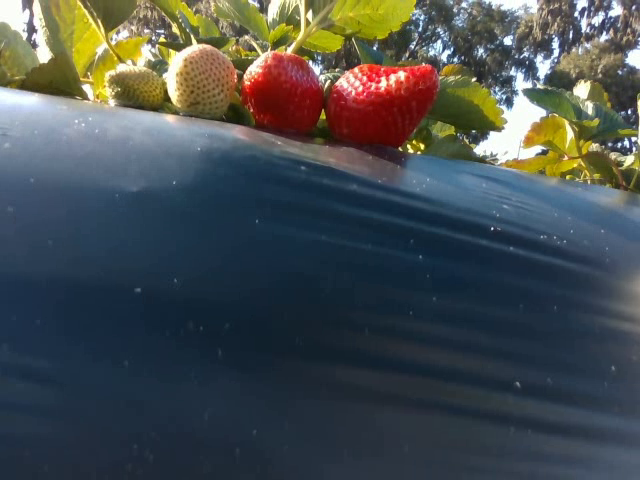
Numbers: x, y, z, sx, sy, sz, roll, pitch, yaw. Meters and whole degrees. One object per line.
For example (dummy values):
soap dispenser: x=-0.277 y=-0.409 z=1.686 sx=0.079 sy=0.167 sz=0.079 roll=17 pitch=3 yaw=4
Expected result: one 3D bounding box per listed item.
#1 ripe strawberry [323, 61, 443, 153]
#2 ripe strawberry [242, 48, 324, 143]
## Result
ripe strawberry: x=0.034 y=-0.066 z=0.286 sx=0.056 sy=0.052 sz=0.067 roll=-31 pitch=8 yaw=-40
ripe strawberry: x=-0.019 y=-0.073 z=0.281 sx=0.050 sy=0.044 sz=0.061 roll=30 pitch=-2 yaw=9
